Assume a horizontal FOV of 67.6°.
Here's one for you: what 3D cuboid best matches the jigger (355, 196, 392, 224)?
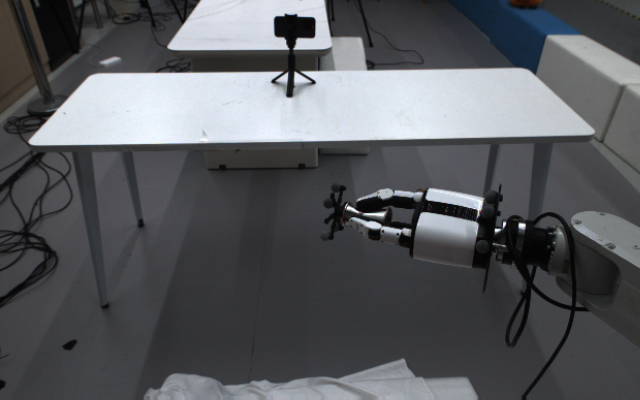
[{"bbox_3d":[0.079,0.025,0.753,0.071,0.043,0.043,10,35,22],"label":"jigger"}]
